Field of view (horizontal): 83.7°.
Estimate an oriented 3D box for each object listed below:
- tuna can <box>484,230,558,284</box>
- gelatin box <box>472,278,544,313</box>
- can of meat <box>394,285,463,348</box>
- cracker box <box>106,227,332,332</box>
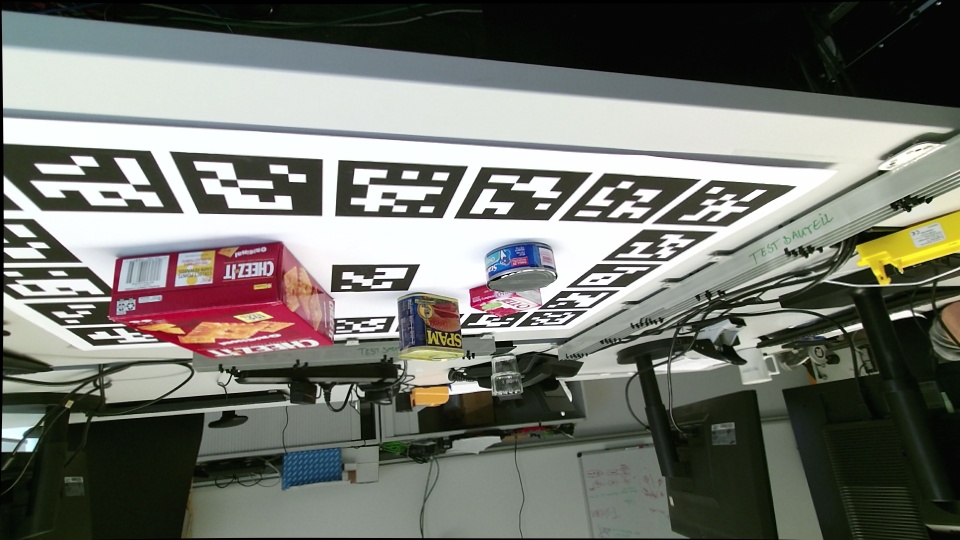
[{"bbox_3d":[0.049,-0.015,0.645,0.086,0.033,0.086,-7,156,-3],"label":"tuna can"},{"bbox_3d":[0.041,0.034,0.784,0.073,0.030,0.089,-15,155,29],"label":"gelatin box"},{"bbox_3d":[-0.077,0.069,0.786,0.058,0.083,0.102,-24,155,39],"label":"can of meat"},{"bbox_3d":[-0.282,0.027,0.623,0.165,0.071,0.214,-5,161,-1],"label":"cracker box"}]
